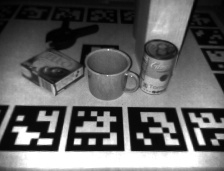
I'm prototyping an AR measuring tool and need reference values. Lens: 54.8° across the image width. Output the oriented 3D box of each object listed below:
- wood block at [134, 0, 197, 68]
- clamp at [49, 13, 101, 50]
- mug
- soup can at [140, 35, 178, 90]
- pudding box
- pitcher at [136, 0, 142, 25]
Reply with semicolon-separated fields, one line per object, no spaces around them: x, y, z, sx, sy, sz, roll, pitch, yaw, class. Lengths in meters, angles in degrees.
0.114;-0.148;0.490;0.090;0.207;0.090;-1;45;-7;wood block
-0.121;-0.150;0.610;0.121;0.036;0.166;26;50;11;clamp
0.007;-0.024;0.453;0.116;0.082;0.094;26;48;22;mug
0.099;-0.047;0.464;0.068;0.102;0.067;1;48;-1;soup can
-0.137;-0.039;0.494;0.112;0.039;0.090;27;53;23;pudding box
0.135;-0.246;0.565;0.189;0.244;0.132;-3;44;-1;pitcher
